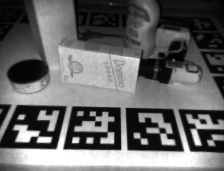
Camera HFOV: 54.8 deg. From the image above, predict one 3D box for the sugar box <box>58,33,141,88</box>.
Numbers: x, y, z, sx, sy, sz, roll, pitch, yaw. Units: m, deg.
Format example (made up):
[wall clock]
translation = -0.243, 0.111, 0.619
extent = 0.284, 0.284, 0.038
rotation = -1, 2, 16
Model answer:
[sugar box]
translation = -0.029, -0.054, 0.492
extent = 0.176, 0.093, 0.045
rotation = 11, 44, 5

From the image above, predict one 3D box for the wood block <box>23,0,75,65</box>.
[wood block]
translation = -0.150, -0.164, 0.520
extent = 0.091, 0.207, 0.089
rotation = -21, 52, -20

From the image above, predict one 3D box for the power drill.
[power drill]
translation = 0.115, -0.102, 0.567
extent = 0.184, 0.057, 0.187
rotation = 12, 54, 8

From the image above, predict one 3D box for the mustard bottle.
[mustard bottle]
translation = 0.070, -0.181, 0.557
extent = 0.059, 0.192, 0.095
rotation = -31, 56, -26

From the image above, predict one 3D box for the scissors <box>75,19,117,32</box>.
[scissors]
translation = -0.069, -0.176, 0.652
extent = 0.203, 0.016, 0.087
rotation = 3, 43, 0

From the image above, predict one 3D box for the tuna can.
[tuna can]
translation = -0.195, -0.037, 0.499
extent = 0.086, 0.034, 0.085
rotation = 2, 48, -2
